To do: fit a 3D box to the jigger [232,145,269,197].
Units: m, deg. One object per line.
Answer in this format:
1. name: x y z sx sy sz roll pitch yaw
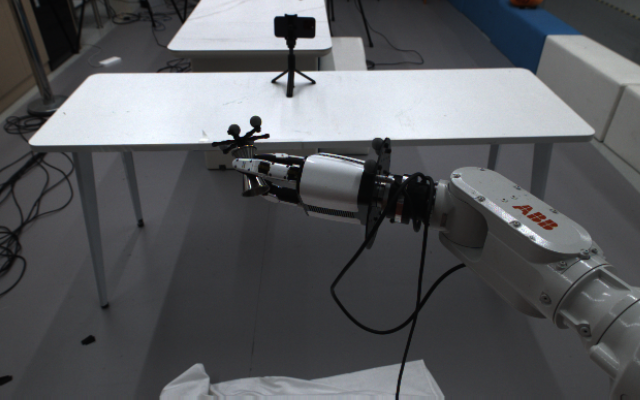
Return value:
1. jigger: -0.104 -0.042 0.726 0.043 0.043 0.071 -13 77 -21
